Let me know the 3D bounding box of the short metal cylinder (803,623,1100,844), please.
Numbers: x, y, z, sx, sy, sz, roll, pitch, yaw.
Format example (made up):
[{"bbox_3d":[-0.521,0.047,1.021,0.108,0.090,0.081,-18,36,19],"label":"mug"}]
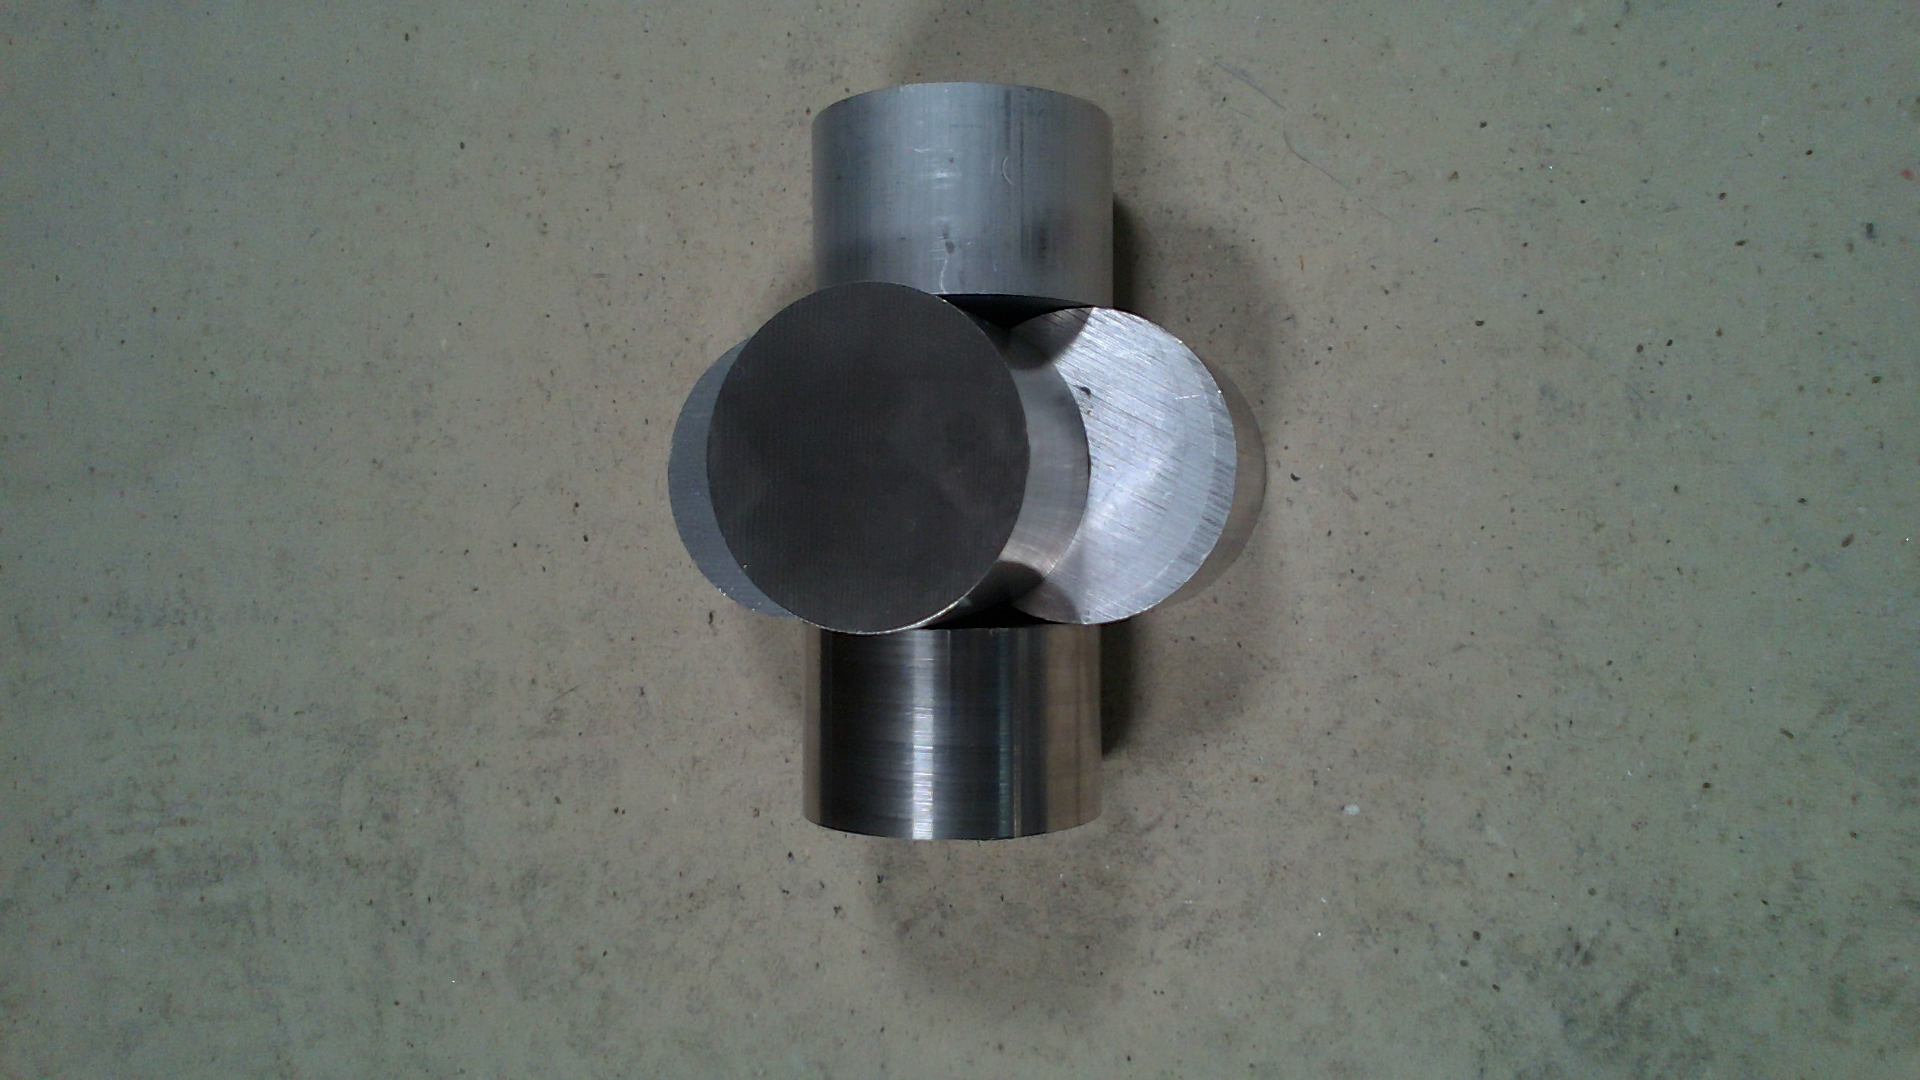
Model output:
[{"bbox_3d":[-0.002,0.047,0.368,0.080,0.080,0.050,0,90,20],"label":"short metal cylinder"}]

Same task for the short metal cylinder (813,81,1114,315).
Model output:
[{"bbox_3d":[0.001,-0.084,0.367,0.080,0.080,0.050,0,90,20],"label":"short metal cylinder"}]

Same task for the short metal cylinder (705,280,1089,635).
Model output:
[{"bbox_3d":[-0.014,-0.019,0.334,0.080,0.050,0.080,0,90,20],"label":"short metal cylinder"}]

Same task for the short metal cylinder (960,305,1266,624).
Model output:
[{"bbox_3d":[0.038,-0.019,0.369,0.080,0.050,0.080,0,90,20],"label":"short metal cylinder"}]

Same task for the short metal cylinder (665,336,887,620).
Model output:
[{"bbox_3d":[-0.036,-0.018,0.396,0.080,0.050,0.080,0,90,20],"label":"short metal cylinder"}]
